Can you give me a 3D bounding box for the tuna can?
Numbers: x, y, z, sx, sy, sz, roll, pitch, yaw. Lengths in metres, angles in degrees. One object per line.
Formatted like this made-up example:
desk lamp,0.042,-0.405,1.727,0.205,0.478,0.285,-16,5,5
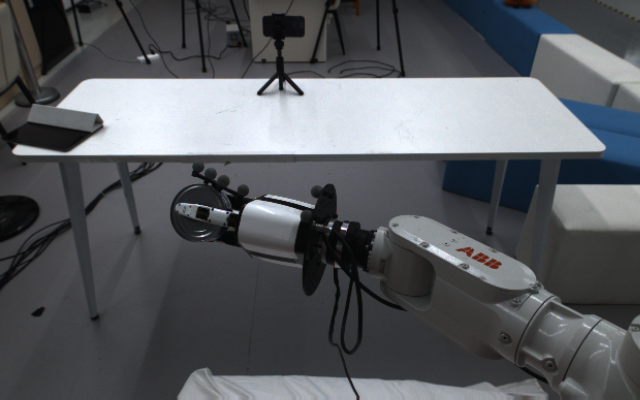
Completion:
tuna can,-0.173,0.021,0.715,0.085,0.085,0.034,9,-5,10
